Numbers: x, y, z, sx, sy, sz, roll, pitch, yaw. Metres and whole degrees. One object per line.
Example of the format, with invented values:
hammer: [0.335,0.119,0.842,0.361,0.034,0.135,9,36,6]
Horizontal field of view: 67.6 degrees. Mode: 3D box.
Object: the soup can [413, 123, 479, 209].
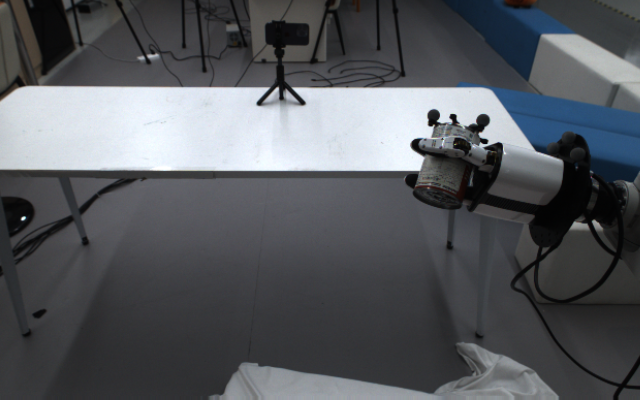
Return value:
soup can: [0.176,-0.047,0.667,0.067,0.067,0.101,15,75,18]
